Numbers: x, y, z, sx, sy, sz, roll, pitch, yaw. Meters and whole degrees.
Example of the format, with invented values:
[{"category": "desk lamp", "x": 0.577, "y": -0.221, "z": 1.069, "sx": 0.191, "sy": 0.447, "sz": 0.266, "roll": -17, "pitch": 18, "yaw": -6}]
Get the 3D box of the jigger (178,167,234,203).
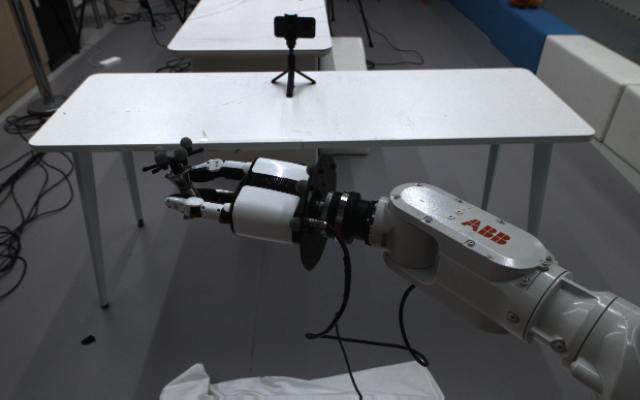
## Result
[{"category": "jigger", "x": -0.187, "y": -0.012, "z": 0.697, "sx": 0.043, "sy": 0.071, "sz": 0.043, "roll": -17, "pitch": 22, "yaw": 7}]
